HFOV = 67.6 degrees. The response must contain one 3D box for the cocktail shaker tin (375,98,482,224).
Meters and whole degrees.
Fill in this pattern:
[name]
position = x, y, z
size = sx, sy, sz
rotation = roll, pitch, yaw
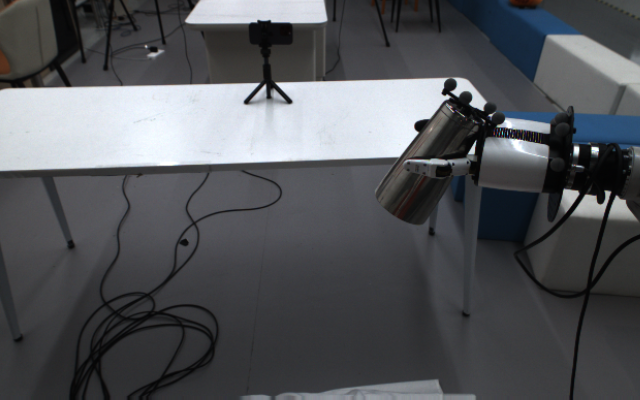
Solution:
[cocktail shaker tin]
position = 0.164, -0.061, 0.714
size = 0.093, 0.170, 0.093
rotation = 25, 29, -15
